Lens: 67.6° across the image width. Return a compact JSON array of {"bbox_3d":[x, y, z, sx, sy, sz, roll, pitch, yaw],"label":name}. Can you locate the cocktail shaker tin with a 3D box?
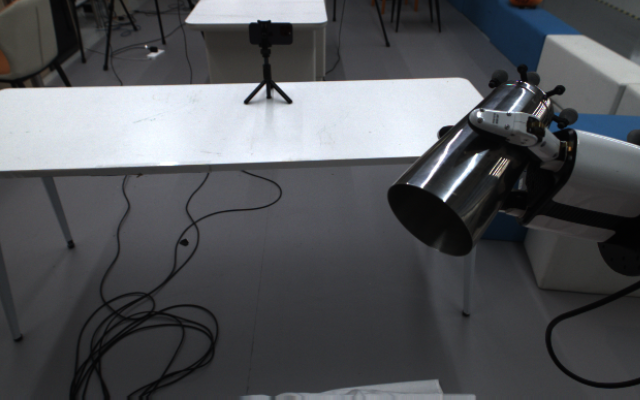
[{"bbox_3d":[0.155,-0.042,0.470,0.093,0.093,0.170,32,67,35],"label":"cocktail shaker tin"}]
